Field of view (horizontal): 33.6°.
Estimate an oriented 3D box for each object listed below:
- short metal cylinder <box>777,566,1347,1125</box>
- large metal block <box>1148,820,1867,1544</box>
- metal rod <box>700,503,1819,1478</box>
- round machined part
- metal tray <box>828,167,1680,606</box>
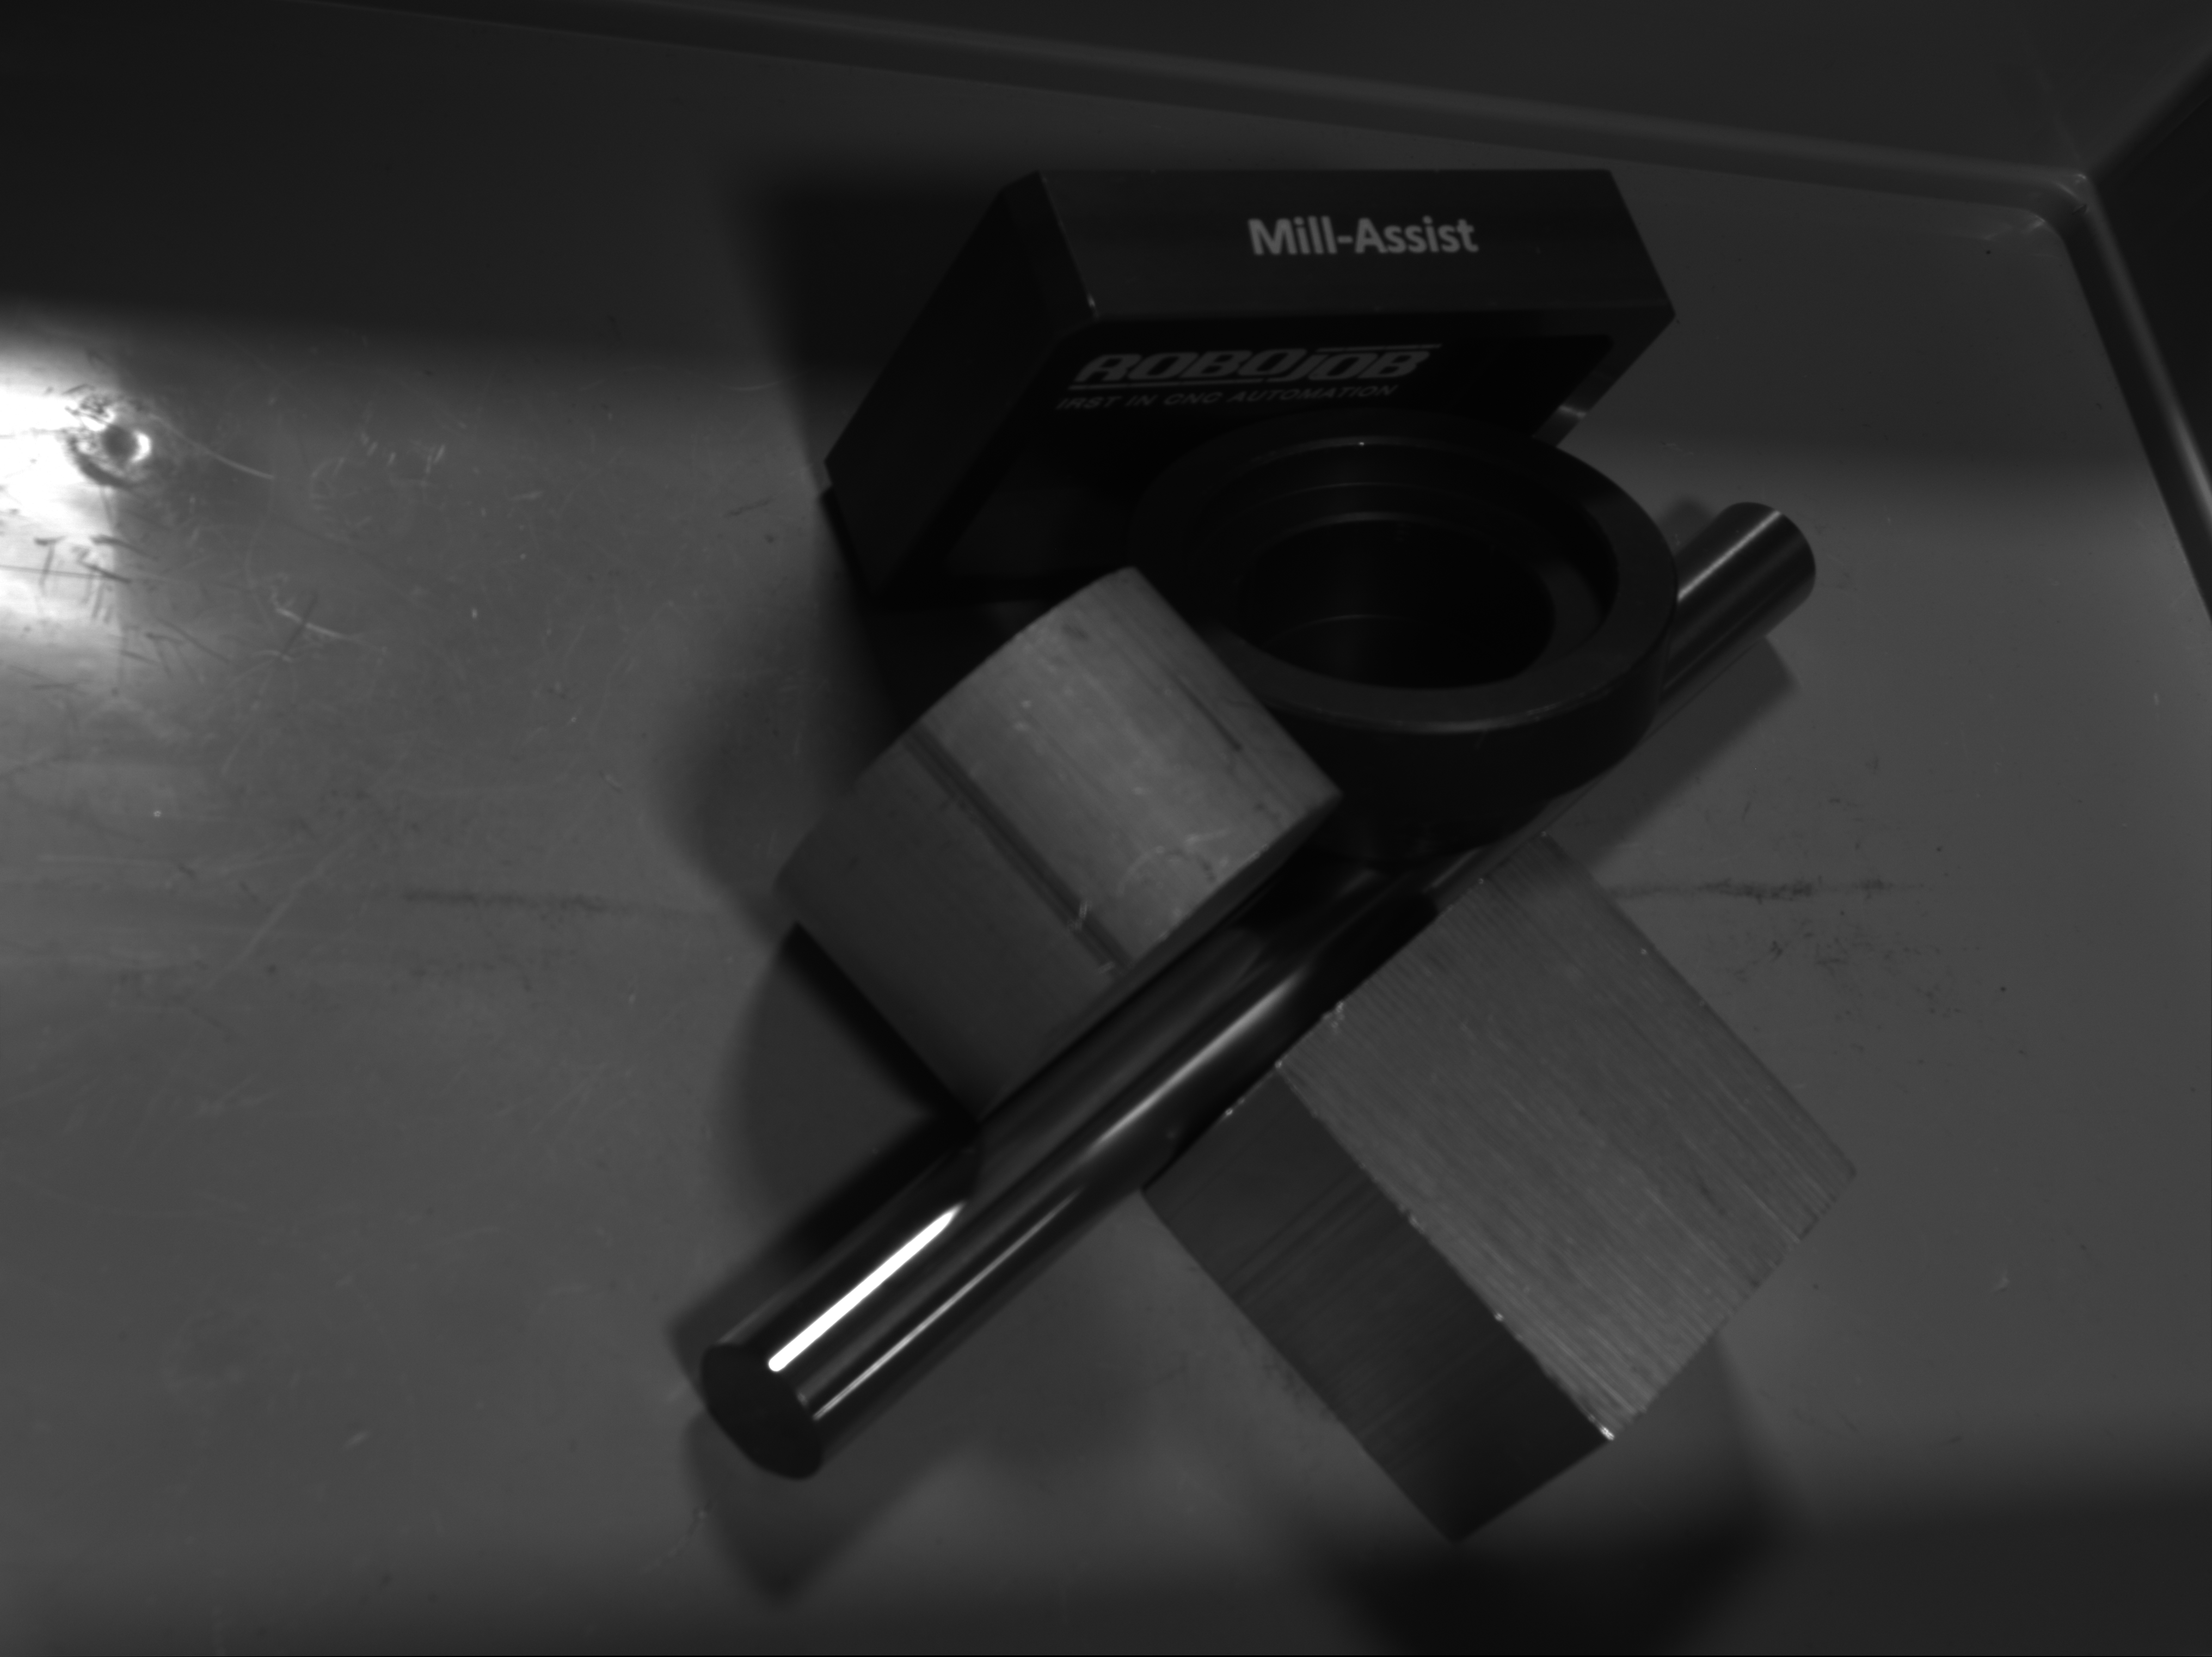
[{"bbox_3d":[-0.007,0.003,0.598,0.050,0.080,0.080,47,51,5],"label":"short metal cylinder"},{"bbox_3d":[0.068,0.059,0.621,0.080,0.050,0.080,48,51,6],"label":"large metal block"},{"bbox_3d":[0.041,0.017,0.650,0.025,0.025,0.301,48,51,6],"label":"metal rod"},{"bbox_3d":[0.052,-0.032,0.657,0.098,0.042,0.098,2,39,-2],"label":"round machined part"},{"bbox_3d":[0.026,-0.080,0.658,0.130,0.090,0.030,-6,65,-31],"label":"metal tray"}]
